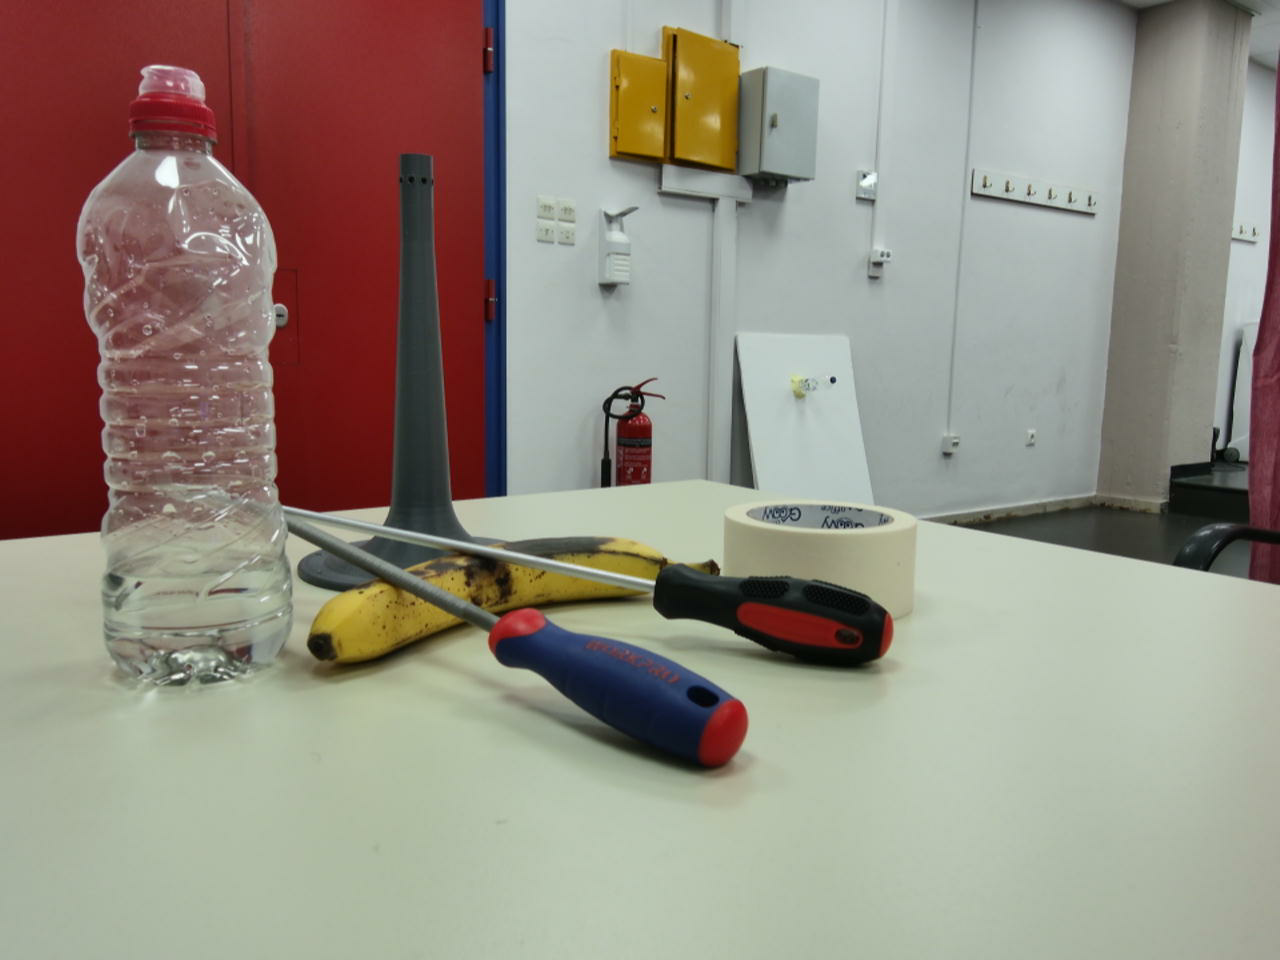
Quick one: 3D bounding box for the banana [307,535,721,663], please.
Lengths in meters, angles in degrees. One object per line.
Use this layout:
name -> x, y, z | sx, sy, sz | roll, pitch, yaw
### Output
banana -> -0.067, 0.054, 0.507 | 0.222, 0.037, 0.084 | -5, 8, -37
